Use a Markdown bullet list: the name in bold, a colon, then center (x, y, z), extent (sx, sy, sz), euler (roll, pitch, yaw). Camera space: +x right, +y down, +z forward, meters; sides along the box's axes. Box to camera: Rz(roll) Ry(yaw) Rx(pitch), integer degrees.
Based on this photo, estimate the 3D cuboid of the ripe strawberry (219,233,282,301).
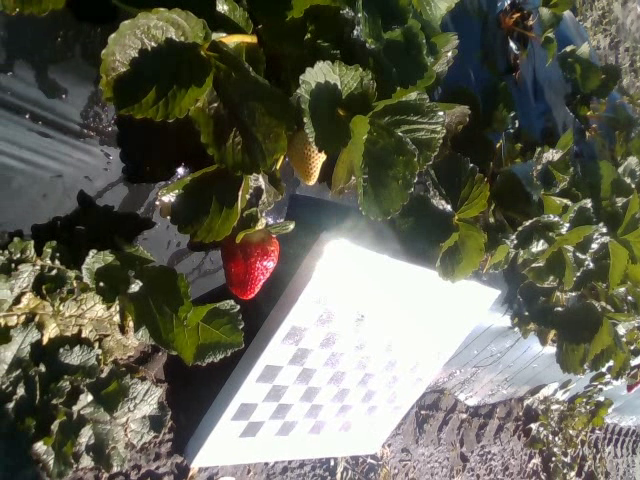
- **ripe strawberry**: center (-0.056, 0.020, 0.476), extent (0.048, 0.069, 0.040), euler (-3, 29, -34)
